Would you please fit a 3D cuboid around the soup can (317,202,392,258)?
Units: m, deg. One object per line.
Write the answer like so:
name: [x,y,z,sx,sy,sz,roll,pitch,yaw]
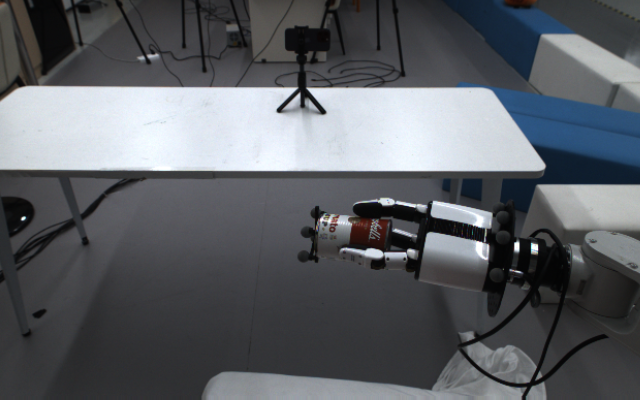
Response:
soup can: [0.052,0.056,0.695,0.101,0.067,0.067,5,34,13]
